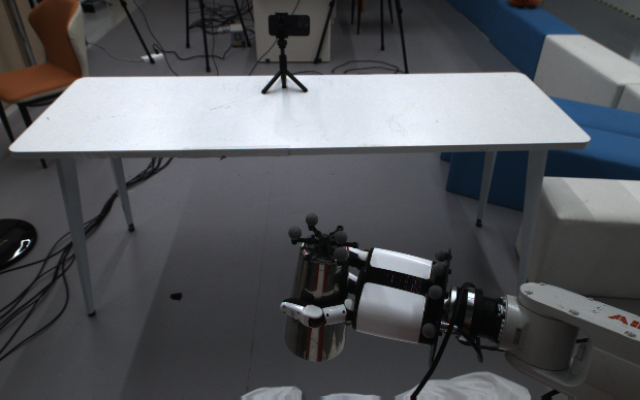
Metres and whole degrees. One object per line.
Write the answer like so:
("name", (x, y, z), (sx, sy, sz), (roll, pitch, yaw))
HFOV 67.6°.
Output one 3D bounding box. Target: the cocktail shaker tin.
("cocktail shaker tin", (0.000, 0.133, 0.682), (0.093, 0.170, 0.093), (4, 32, -2))
